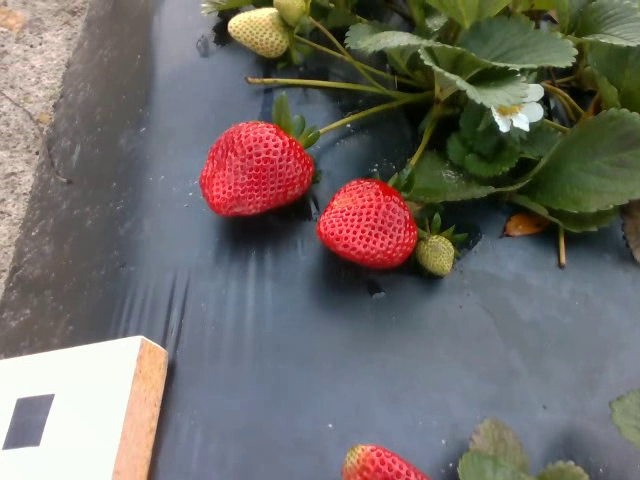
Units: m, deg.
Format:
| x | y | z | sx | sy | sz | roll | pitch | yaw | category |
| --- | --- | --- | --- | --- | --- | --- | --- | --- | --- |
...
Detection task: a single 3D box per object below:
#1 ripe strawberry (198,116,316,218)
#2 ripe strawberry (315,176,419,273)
| x | y | z | sx | sy | sz | roll | pitch | yaw | category |
| --- | --- | --- | --- | --- | --- | --- | --- | --- | --- |
| -0.039 | -0.034 | 0.320 | 0.058 | 0.044 | 0.065 | 13 | 51 | 43 | ripe strawberry |
| 0.018 | -0.008 | 0.301 | 0.050 | 0.051 | 0.059 | 6 | 15 | 41 | ripe strawberry |
